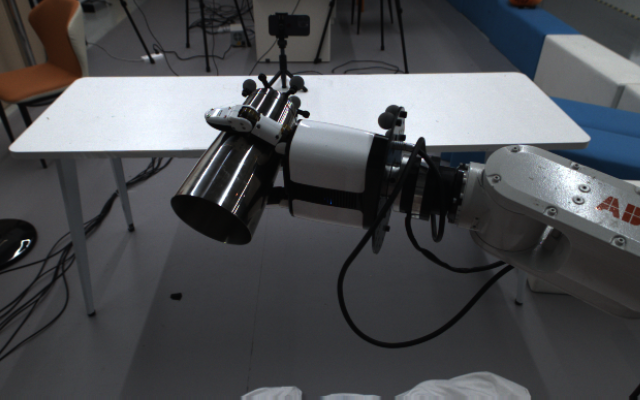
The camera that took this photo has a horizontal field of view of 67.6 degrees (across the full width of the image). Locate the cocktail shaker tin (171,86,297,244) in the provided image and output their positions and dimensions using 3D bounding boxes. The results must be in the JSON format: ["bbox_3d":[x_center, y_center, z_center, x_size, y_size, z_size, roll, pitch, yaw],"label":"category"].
[{"bbox_3d":[-0.086,-0.046,0.547,0.093,0.093,0.170,13,58,16],"label":"cocktail shaker tin"}]
